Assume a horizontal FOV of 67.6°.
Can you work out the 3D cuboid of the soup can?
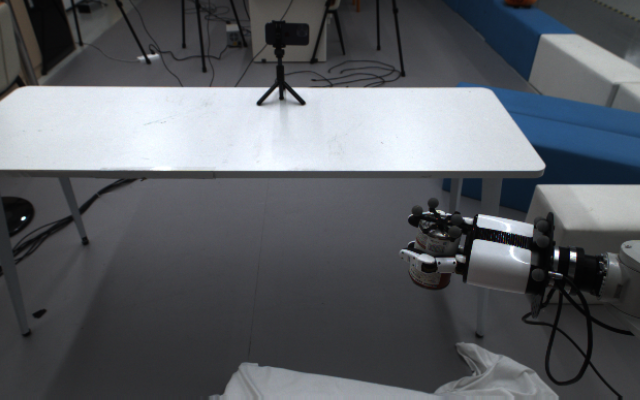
[{"bbox_3d":[0.183,0.082,0.766,0.067,0.101,0.067,3,30,-2],"label":"soup can"}]
